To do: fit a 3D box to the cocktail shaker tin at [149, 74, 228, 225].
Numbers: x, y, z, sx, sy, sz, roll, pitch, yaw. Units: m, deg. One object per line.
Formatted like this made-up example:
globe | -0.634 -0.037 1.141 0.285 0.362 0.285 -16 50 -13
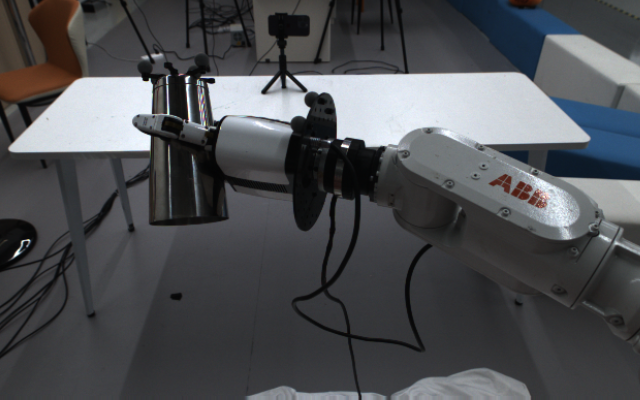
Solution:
cocktail shaker tin | -0.163 -0.057 0.584 0.093 0.170 0.093 -6 -7 -1
